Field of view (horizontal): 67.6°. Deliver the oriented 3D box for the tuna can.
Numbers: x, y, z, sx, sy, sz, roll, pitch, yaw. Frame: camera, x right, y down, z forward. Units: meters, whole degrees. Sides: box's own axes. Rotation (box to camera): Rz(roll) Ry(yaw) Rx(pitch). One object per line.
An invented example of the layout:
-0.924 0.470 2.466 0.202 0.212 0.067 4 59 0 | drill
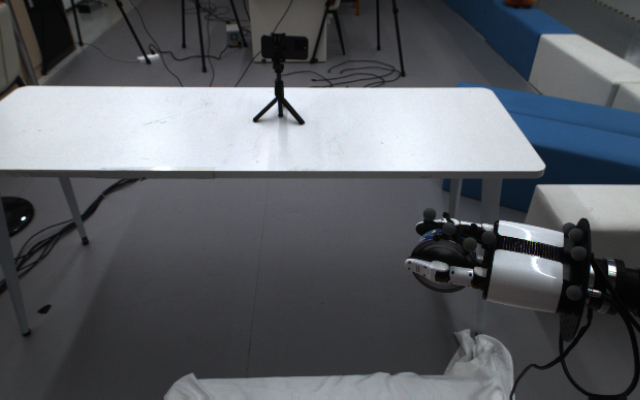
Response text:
0.172 0.082 0.667 0.085 0.085 0.034 16 28 19 | tuna can
